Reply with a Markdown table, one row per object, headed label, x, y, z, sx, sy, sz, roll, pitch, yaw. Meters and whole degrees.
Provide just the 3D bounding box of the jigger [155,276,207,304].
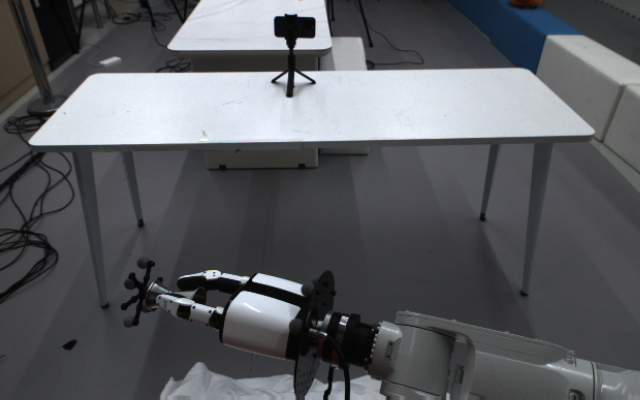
| label | x | y | z | sx | sy | sz | roll | pitch | yaw |
| --- | --- | --- | --- | --- | --- | --- | --- | --- | --- |
| jigger | -0.188 | 0.132 | 0.655 | 0.071 | 0.043 | 0.043 | 7 | 35 | 14 |
